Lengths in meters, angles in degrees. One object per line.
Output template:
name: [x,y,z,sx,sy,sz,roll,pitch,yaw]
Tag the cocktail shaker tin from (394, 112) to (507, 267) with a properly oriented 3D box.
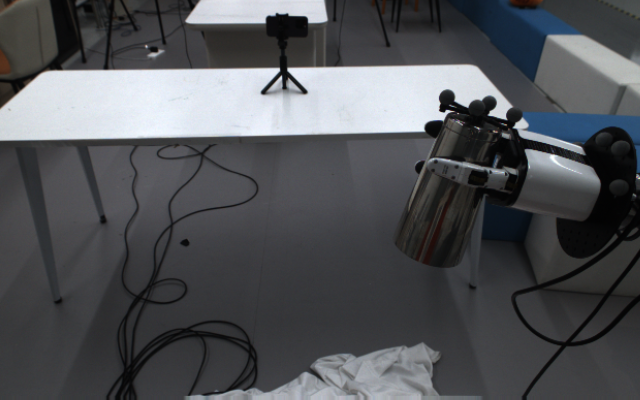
cocktail shaker tin: [0.161,-0.017,0.591,0.093,0.170,0.093,12,25,-6]
